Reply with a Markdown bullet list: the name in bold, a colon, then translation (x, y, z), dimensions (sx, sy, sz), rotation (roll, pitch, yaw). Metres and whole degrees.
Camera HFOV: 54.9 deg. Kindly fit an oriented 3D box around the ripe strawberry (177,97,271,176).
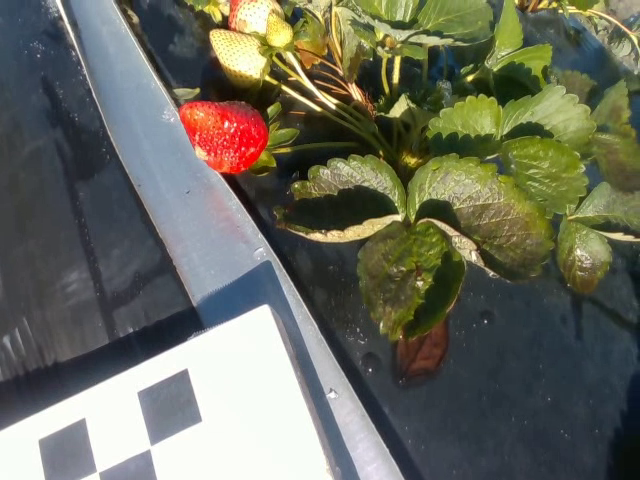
- **ripe strawberry**: translation (-0.043, -0.046, 0.248), dimensions (0.038, 0.036, 0.045), rotation (-34, -31, 14)
